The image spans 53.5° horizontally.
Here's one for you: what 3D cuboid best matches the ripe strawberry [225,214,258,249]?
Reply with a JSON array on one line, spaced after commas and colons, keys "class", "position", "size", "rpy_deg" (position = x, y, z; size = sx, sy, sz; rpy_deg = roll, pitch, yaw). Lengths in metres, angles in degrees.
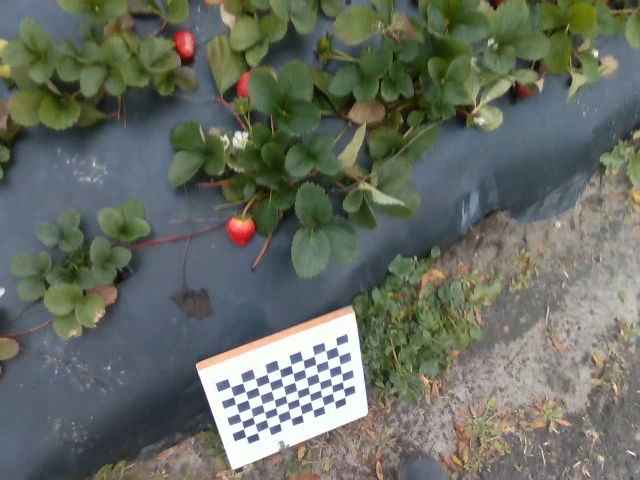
[{"class": "ripe strawberry", "position": [-0.153, -0.018, 1.234], "size": [0.062, 0.064, 0.050], "rpy_deg": [-10, 26, -24]}]
